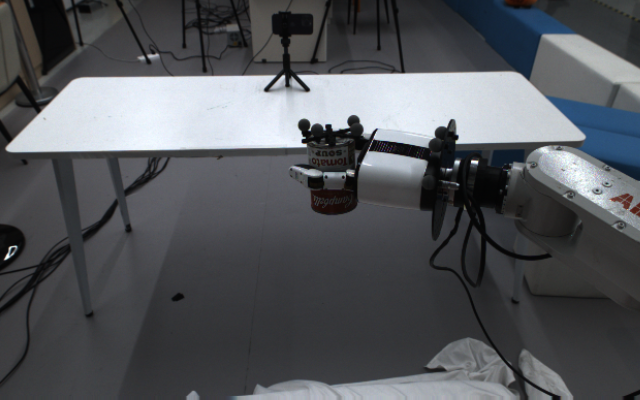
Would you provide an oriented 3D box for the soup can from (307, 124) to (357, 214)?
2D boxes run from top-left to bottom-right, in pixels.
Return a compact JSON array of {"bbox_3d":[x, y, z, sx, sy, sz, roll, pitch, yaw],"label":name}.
[{"bbox_3d":[0.019,-0.039,0.680,0.067,0.101,0.067,-3,26,2],"label":"soup can"}]
